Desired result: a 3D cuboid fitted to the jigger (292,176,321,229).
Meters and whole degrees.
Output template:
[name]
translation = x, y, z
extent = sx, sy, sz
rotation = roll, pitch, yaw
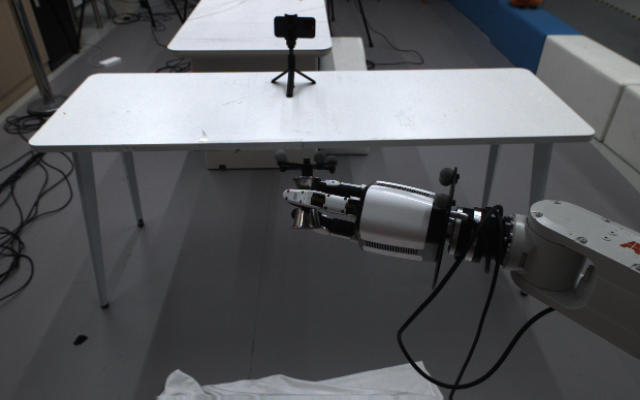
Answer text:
[jigger]
translation = -0.019, 0.004, 0.655
extent = 0.043, 0.071, 0.043
rotation = 1, -5, 0
